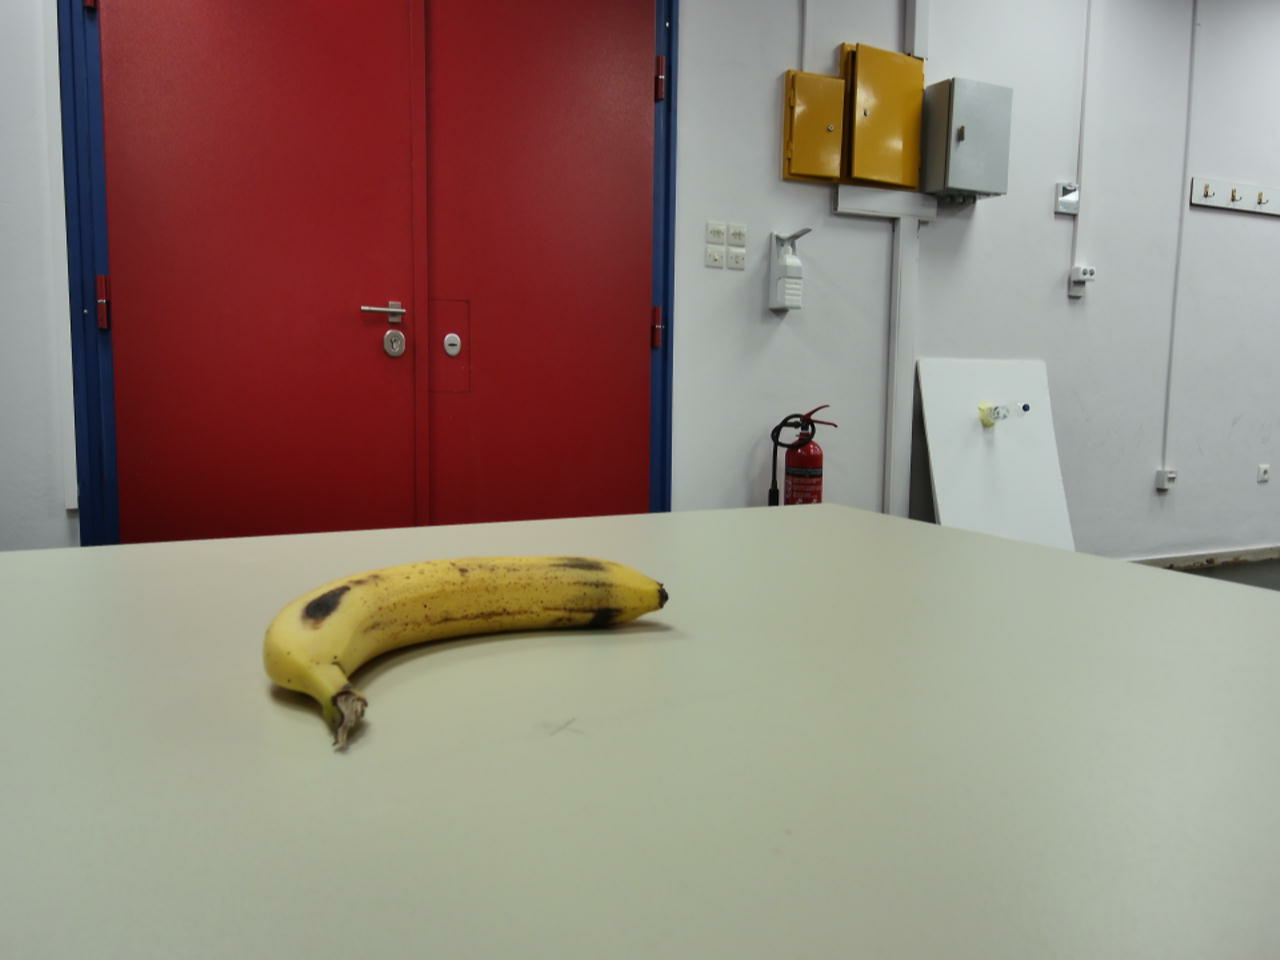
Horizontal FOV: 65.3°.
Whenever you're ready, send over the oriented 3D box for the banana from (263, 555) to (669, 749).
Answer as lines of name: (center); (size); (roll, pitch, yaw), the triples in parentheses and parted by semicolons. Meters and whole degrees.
banana: (-0.077, 0.057, 0.420); (0.097, 0.038, 0.186); (3, 5, 36)
